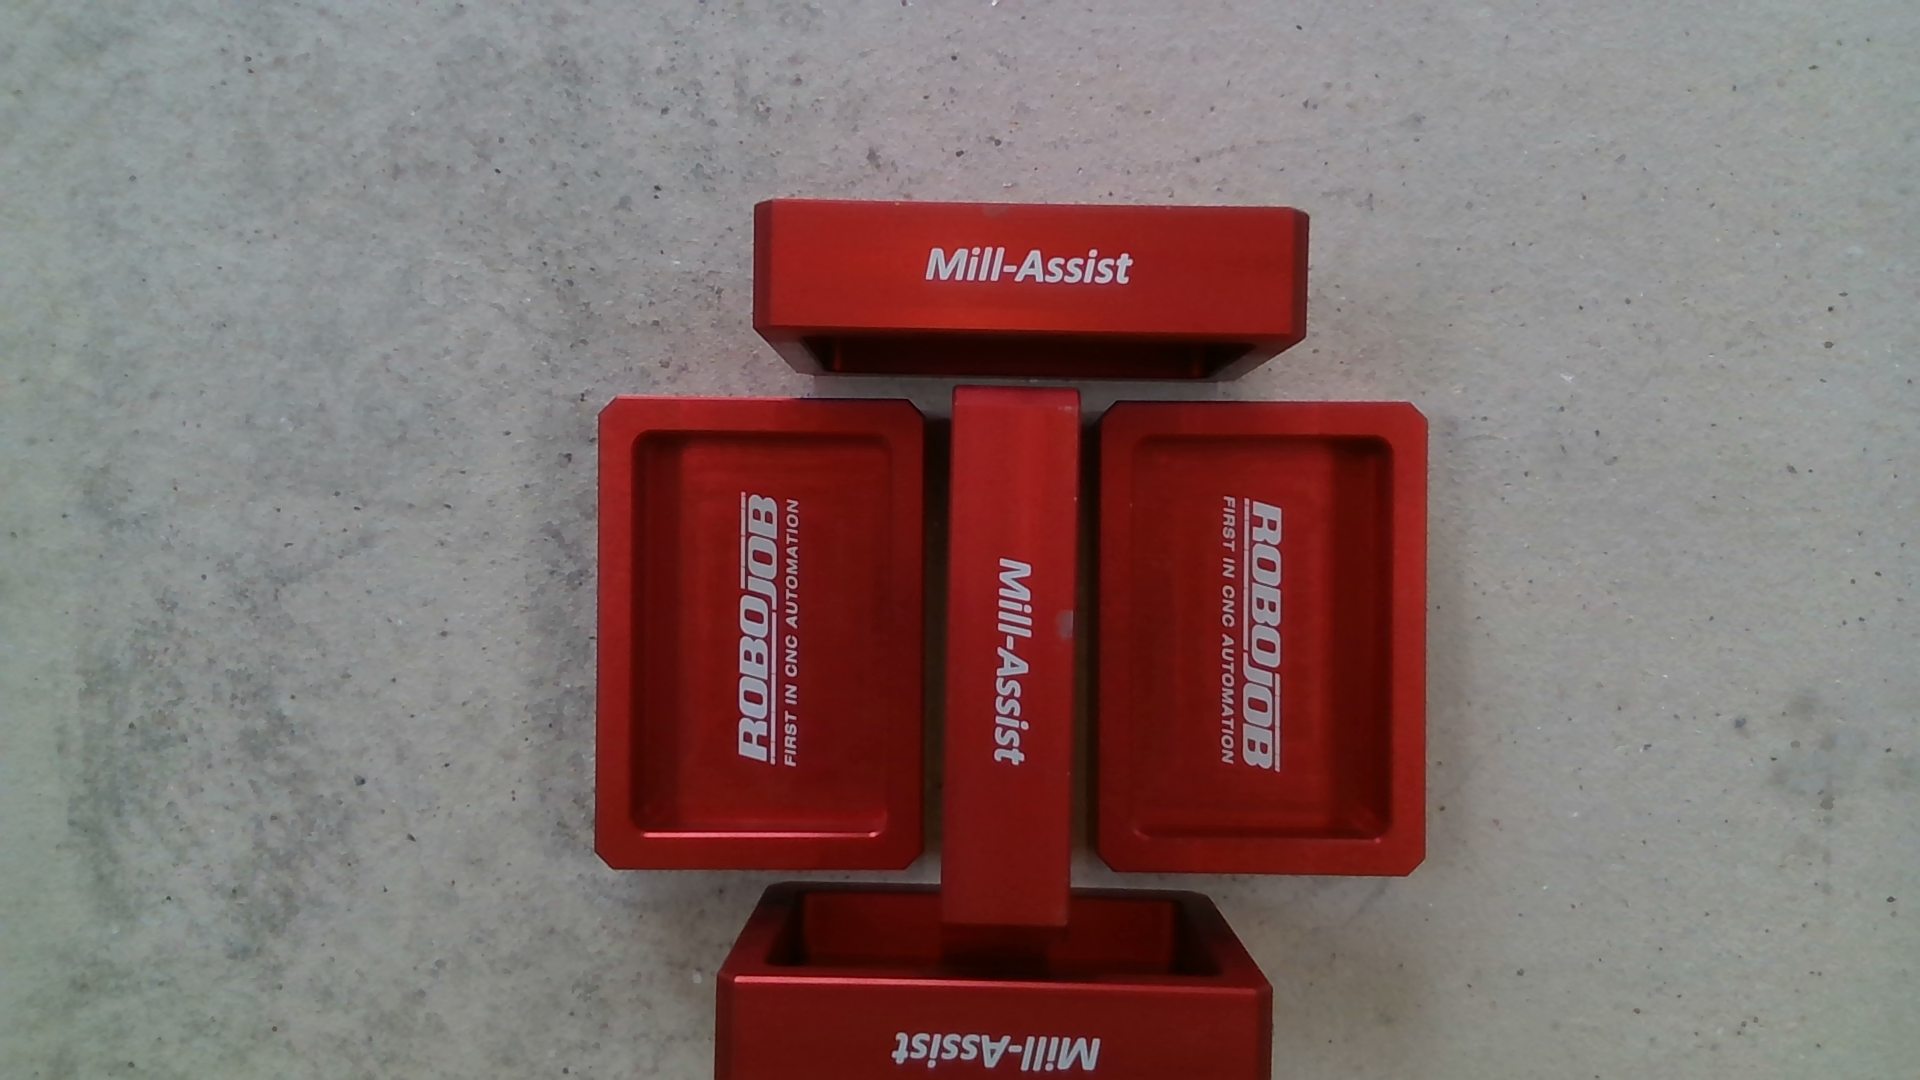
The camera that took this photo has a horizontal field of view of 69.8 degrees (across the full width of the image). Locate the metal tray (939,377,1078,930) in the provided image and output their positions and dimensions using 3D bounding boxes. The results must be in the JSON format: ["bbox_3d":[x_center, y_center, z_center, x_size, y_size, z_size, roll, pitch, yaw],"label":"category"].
[{"bbox_3d":[0.012,0.027,0.364,0.030,0.090,0.130,1,90,1],"label":"metal tray"}]

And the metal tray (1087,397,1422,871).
[{"bbox_3d":[0.082,0.026,0.393,0.090,0.030,0.130,0,90,3],"label":"metal tray"}]

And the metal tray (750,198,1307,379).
[{"bbox_3d":[0.016,-0.063,0.363,0.130,0.090,0.030,1,90,0],"label":"metal tray"}]

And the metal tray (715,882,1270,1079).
[{"bbox_3d":[0.008,0.117,0.363,0.130,0.090,0.030,1,90,0],"label":"metal tray"}]

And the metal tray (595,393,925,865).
[{"bbox_3d":[-0.055,0.025,0.394,0.090,0.030,0.130,1,90,-1],"label":"metal tray"}]
